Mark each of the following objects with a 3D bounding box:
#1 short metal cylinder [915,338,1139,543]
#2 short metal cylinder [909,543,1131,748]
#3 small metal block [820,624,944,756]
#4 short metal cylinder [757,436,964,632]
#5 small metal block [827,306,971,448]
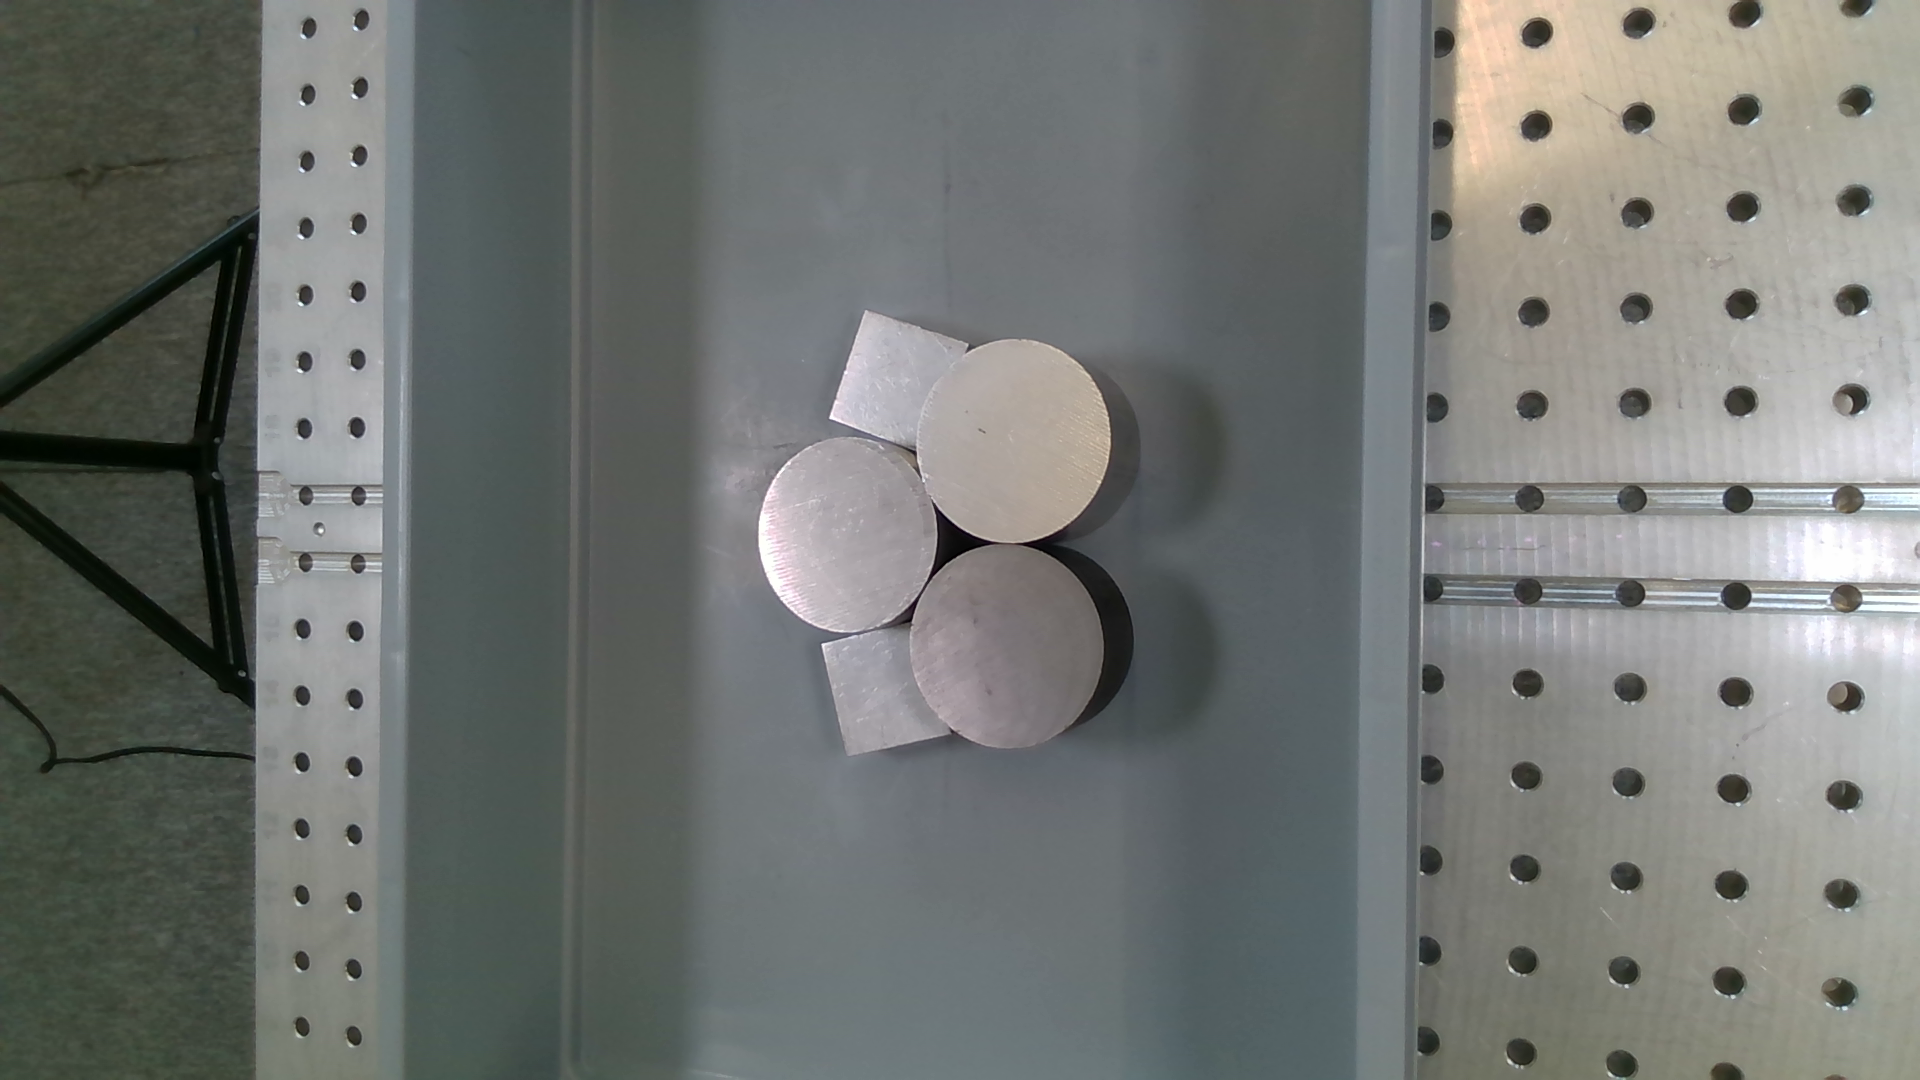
[{"bbox_3d":[0.028,-0.039,0.561,0.080,0.050,0.080,0,91,20],"label":"short metal cylinder"},{"bbox_3d":[0.026,0.041,0.562,0.080,0.050,0.080,0,91,20],"label":"short metal cylinder"},{"bbox_3d":[-0.028,0.063,0.596,0.050,0.025,0.050,-15,85,20],"label":"small metal block"},{"bbox_3d":[-0.039,-0.003,0.586,0.080,0.050,0.080,0,91,20],"label":"short metal cylinder"},{"bbox_3d":[-0.023,-0.067,0.593,0.050,0.025,0.050,22,98,19],"label":"small metal block"}]
